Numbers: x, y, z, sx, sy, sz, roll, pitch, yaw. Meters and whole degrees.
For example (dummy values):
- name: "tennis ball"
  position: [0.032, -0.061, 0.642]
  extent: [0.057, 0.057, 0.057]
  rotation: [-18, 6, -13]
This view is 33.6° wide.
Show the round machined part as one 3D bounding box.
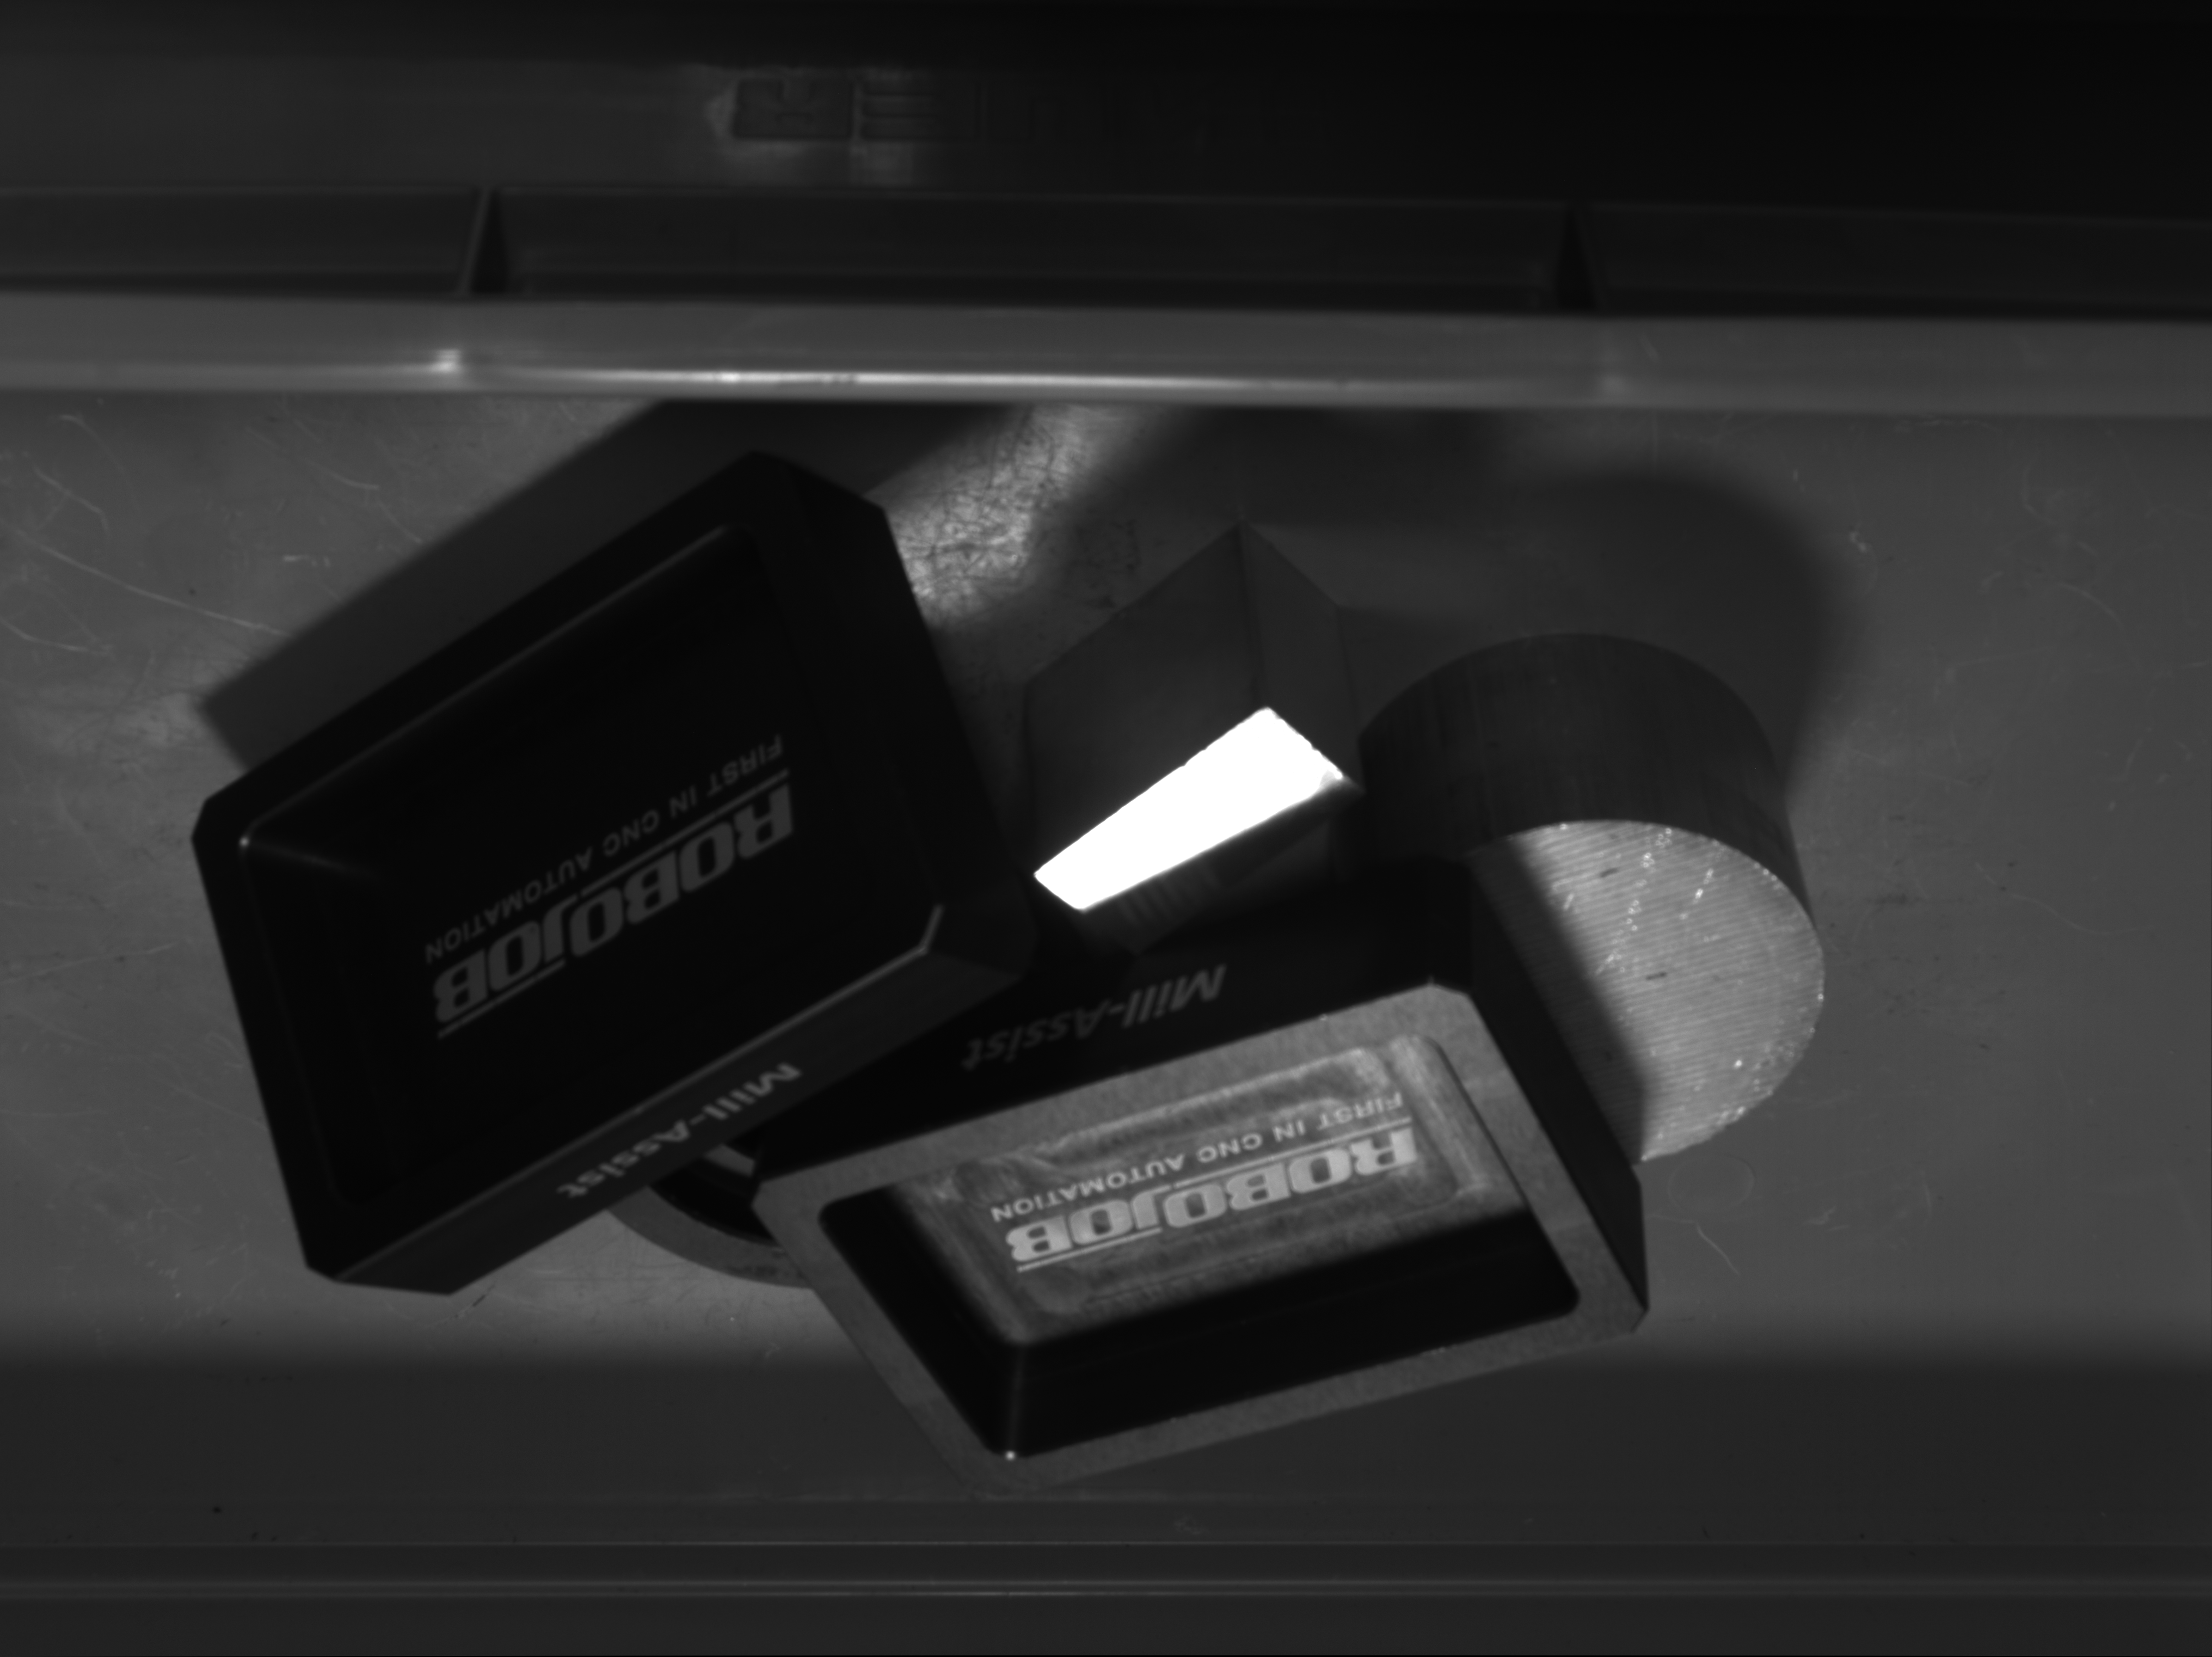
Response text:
- name: "round machined part"
  position: [-0.049, 0.034, 0.654]
  extent: [0.098, 0.042, 0.098]
  rotation: [-1, 130, -1]

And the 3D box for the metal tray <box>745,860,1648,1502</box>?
- name: "metal tray"
  position: [0.016, 0.063, 0.625]
  extent: [0.130, 0.030, 0.090]
  rotation: [-18, 127, 19]

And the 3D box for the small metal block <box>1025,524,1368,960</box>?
- name: "small metal block"
  position: [0.014, -0.015, 0.608]
  extent: [0.050, 0.050, 0.025]
  rotation: [-36, 122, 23]

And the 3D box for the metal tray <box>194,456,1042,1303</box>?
- name: "metal tray"
  position: [-0.083, 0.010, 0.598]
  extent: [0.130, 0.090, 0.030]
  rotation: [-30, 156, 21]

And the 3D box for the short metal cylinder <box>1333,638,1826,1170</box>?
- name: "short metal cylinder"
  position: [0.080, 0.014, 0.634]
  extent: [0.080, 0.050, 0.080]
  rotation: [-1, 130, -1]
